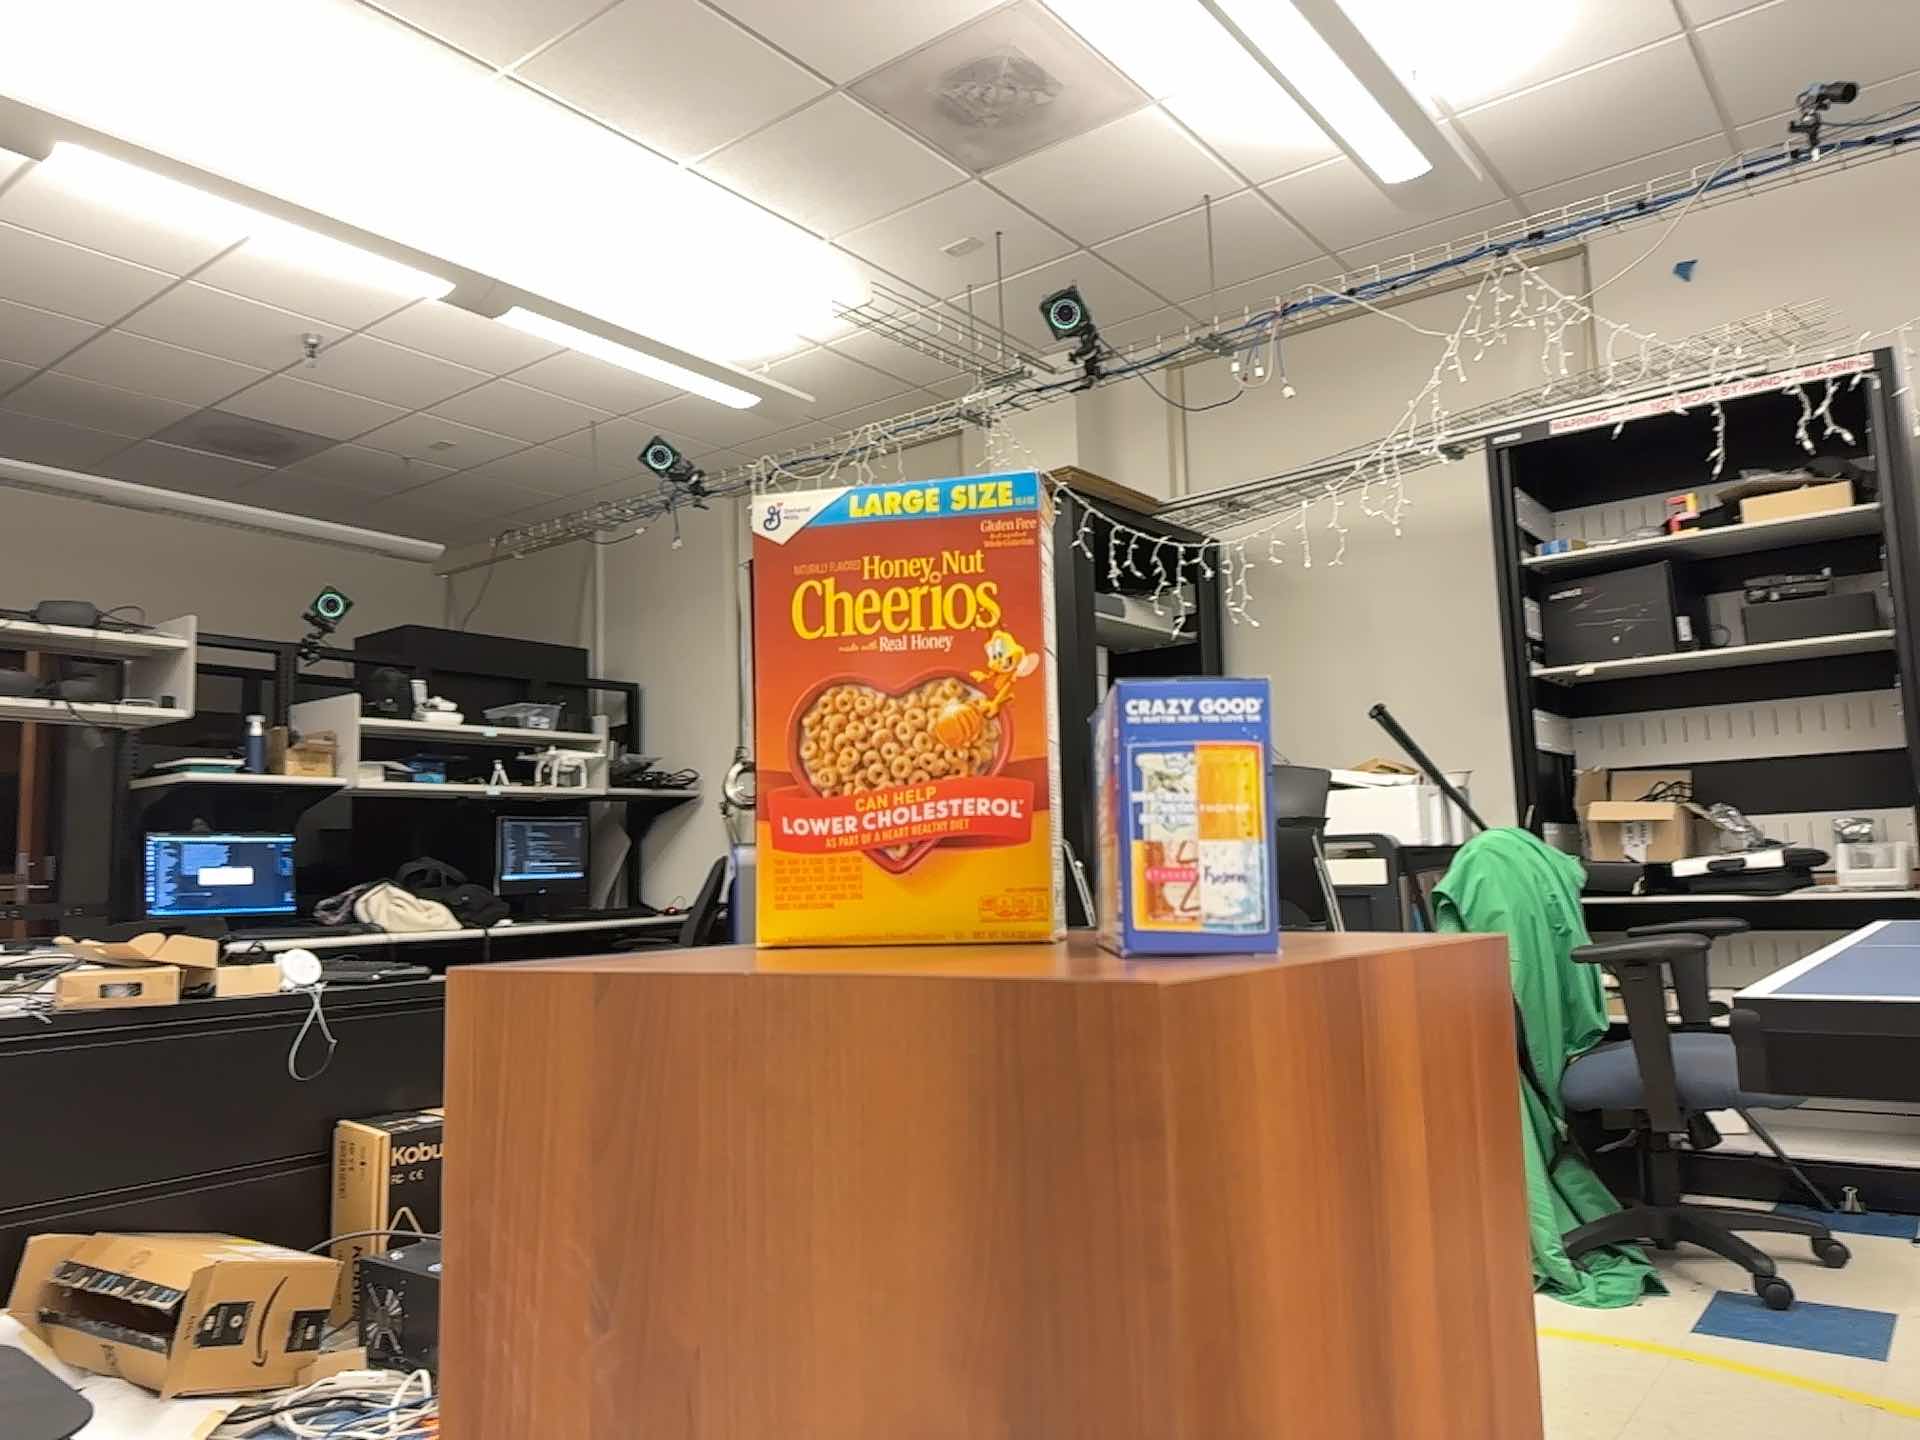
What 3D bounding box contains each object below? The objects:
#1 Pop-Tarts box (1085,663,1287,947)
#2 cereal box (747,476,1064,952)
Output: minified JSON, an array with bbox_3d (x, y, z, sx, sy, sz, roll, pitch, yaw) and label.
[{"bbox_3d":[0.117,0.052,0.740,0.075,0.135,0.161,0,-8,-1],"label":"Pop-Tarts box"},{"bbox_3d":[-0.038,-0.002,0.901,0.195,0.297,0.065,-2,-9,8],"label":"cereal box"}]
